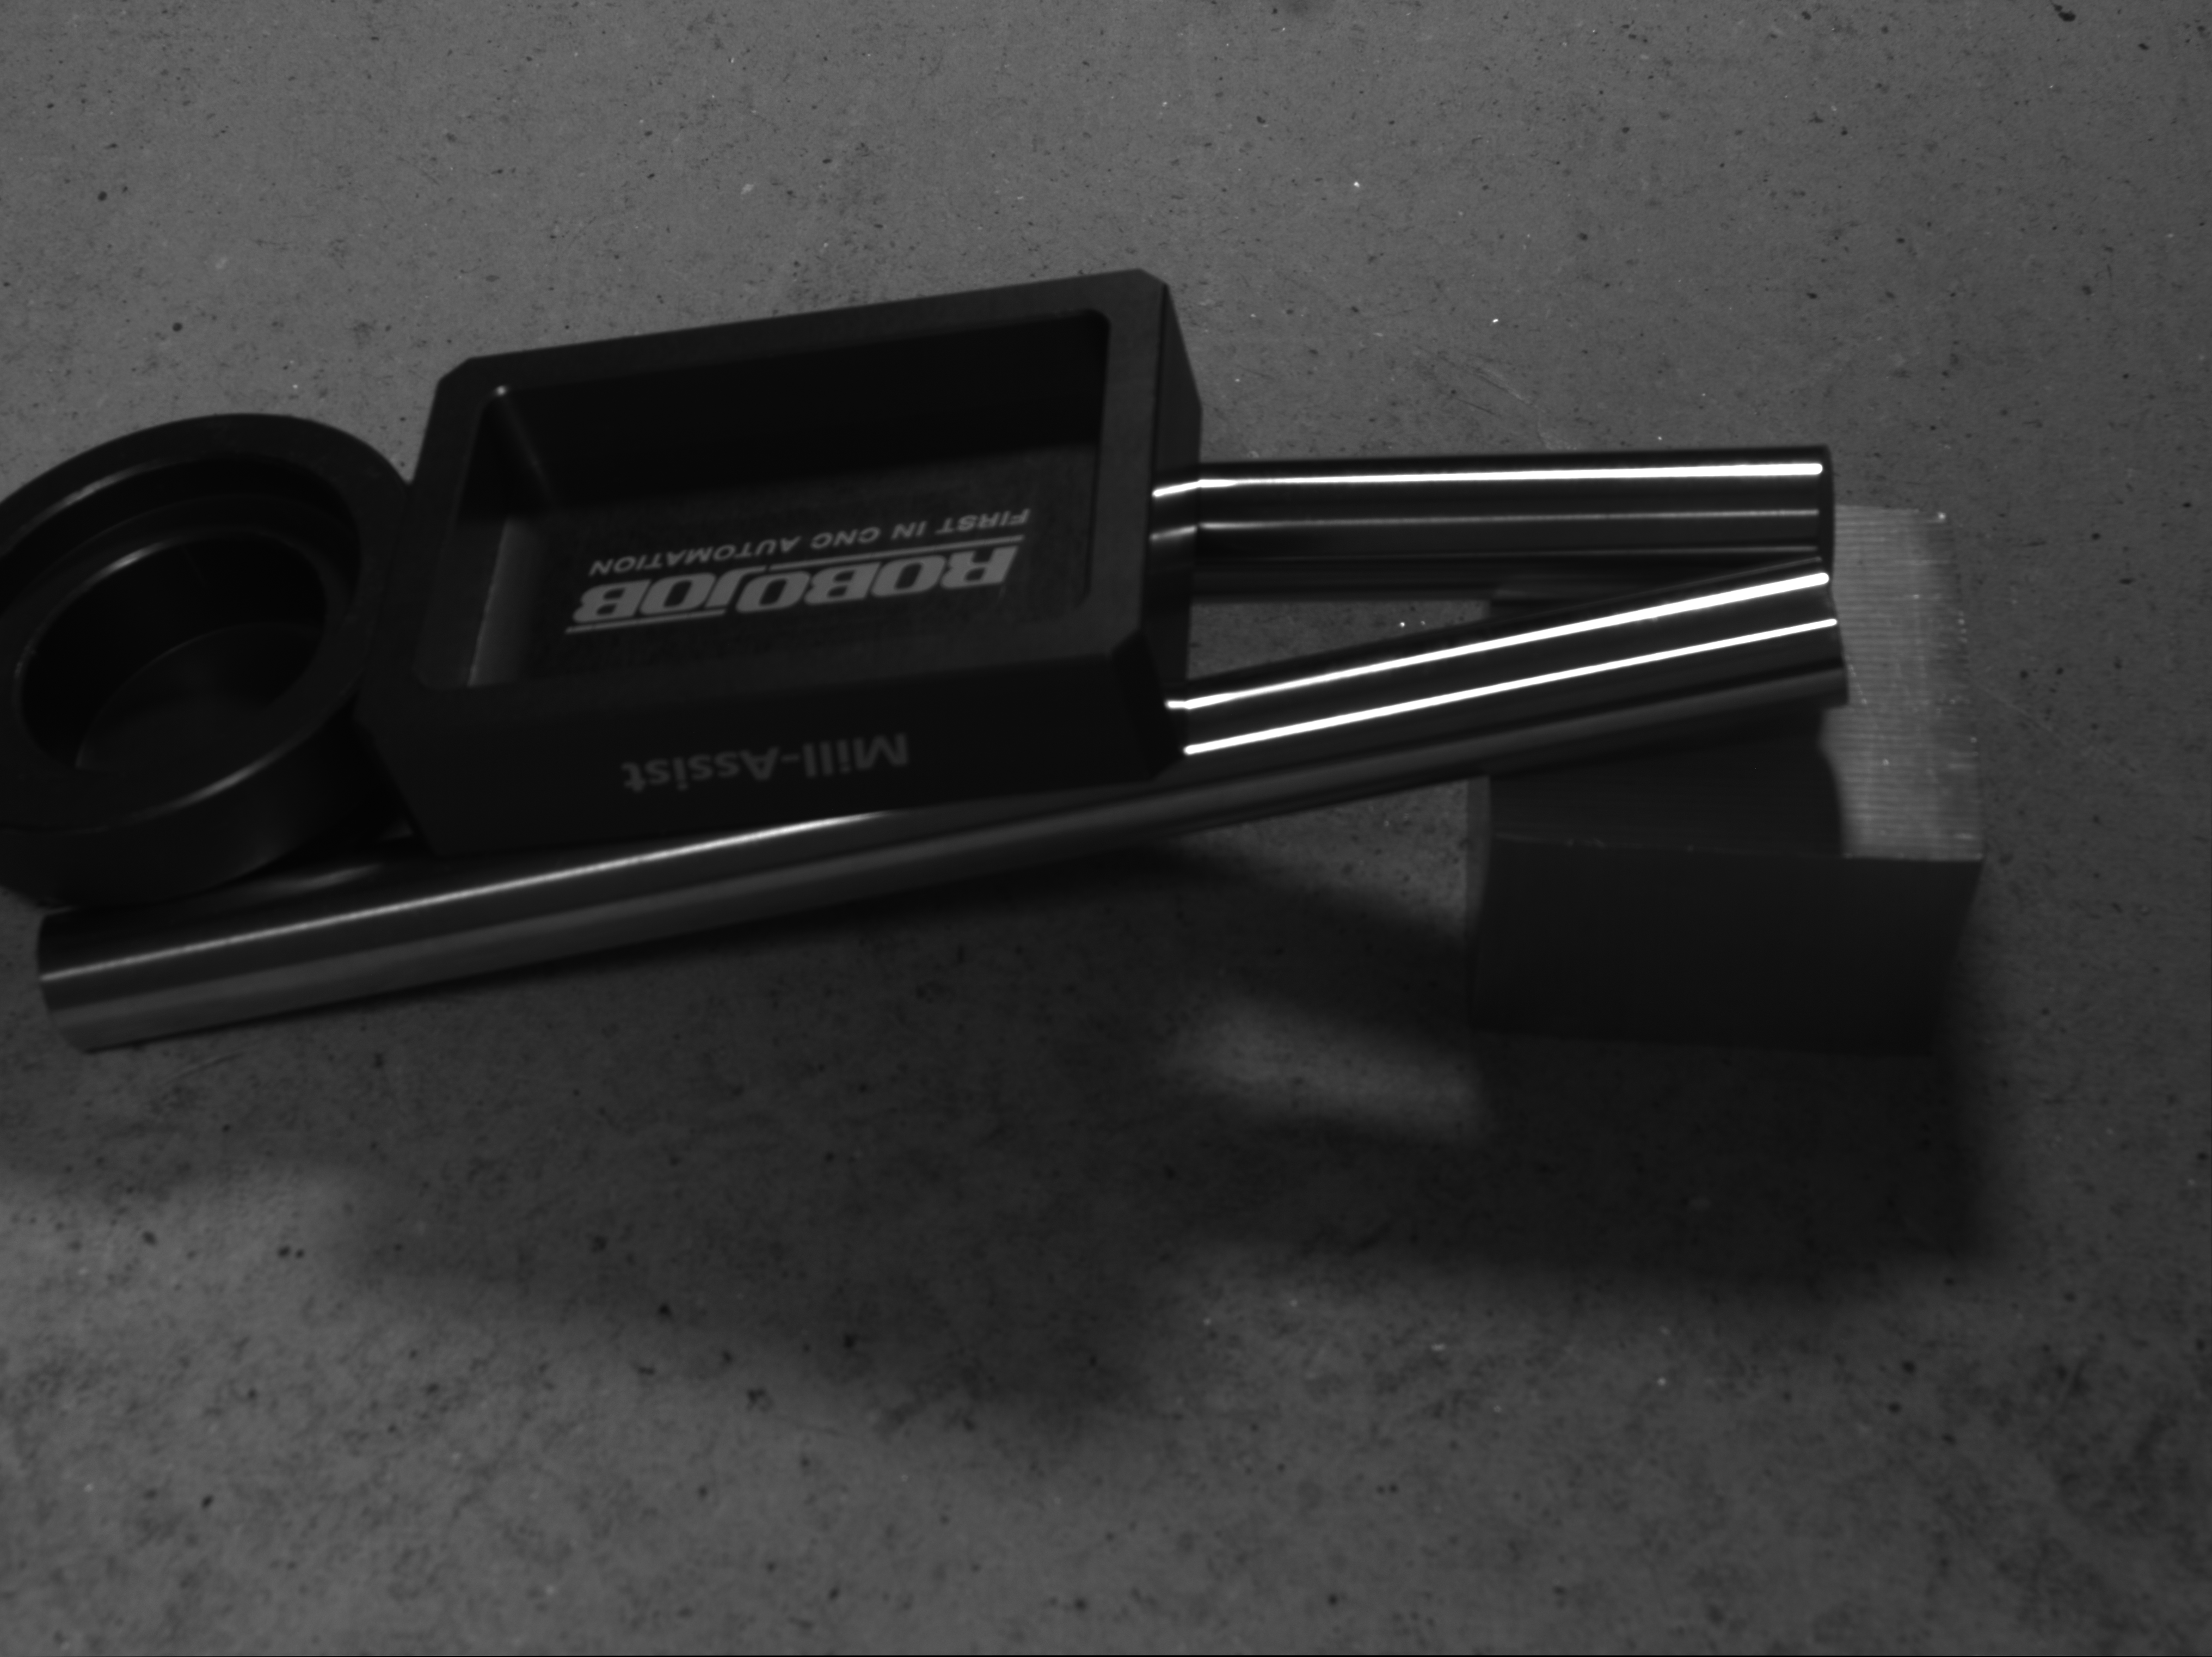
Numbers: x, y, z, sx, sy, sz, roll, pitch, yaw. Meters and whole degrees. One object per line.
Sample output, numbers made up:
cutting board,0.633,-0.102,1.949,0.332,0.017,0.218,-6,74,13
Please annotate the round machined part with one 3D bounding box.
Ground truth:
round machined part,-0.159,-0.024,0.644,0.098,0.042,0.098,-7,49,8

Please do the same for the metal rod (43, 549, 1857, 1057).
metal rod,-0.029,-0.003,0.603,0.300,0.025,0.025,-11,50,7

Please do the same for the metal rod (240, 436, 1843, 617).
metal rod,-0.024,-0.051,0.643,0.300,0.025,0.025,0,49,17

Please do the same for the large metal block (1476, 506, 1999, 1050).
large metal block,0.106,-0.011,0.633,0.080,0.050,0.080,3,50,3

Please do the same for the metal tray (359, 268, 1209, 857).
metal tray,-0.051,-0.045,0.609,0.130,0.030,0.090,-6,49,12
